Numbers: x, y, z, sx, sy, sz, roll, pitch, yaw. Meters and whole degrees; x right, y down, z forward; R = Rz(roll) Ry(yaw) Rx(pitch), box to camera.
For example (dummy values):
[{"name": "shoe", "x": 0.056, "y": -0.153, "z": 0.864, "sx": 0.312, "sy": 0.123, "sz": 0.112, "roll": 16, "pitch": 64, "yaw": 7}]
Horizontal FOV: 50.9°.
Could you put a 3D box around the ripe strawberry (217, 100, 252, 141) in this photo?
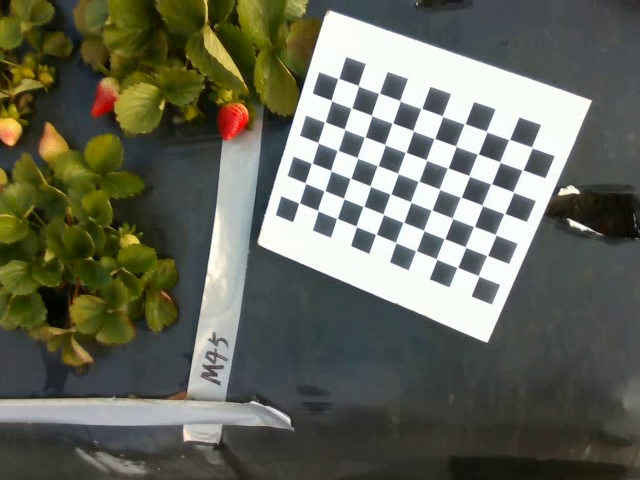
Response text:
[{"name": "ripe strawberry", "x": -0.094, "y": -0.125, "z": 0.709, "sx": 0.050, "sy": 0.055, "sz": 0.035, "roll": 15, "pitch": -4, "yaw": 7}]
